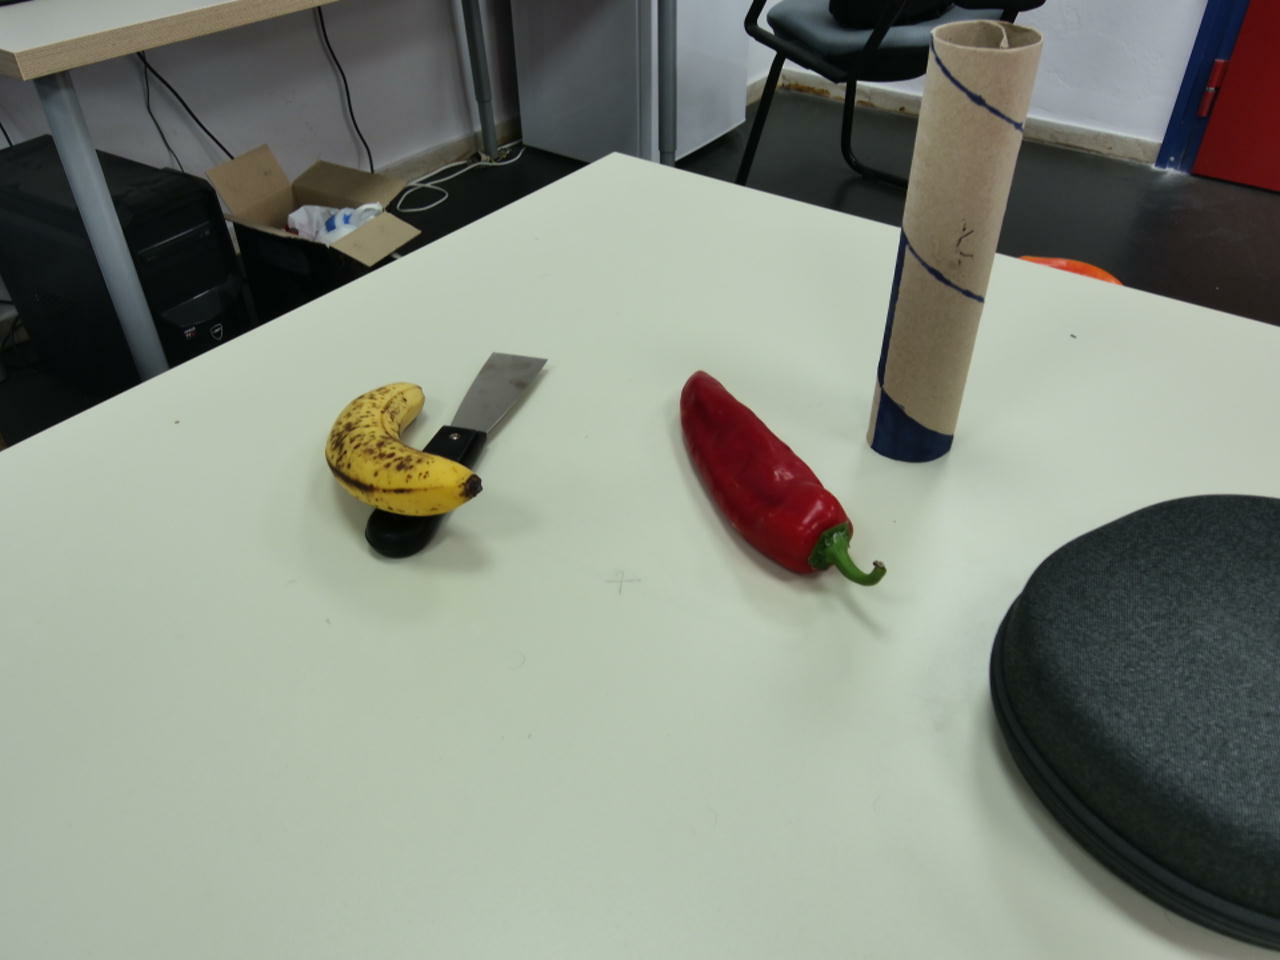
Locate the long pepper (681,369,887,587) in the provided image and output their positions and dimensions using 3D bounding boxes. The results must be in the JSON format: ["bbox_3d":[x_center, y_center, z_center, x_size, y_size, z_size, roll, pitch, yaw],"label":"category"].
[{"bbox_3d":[0.063,-0.004,0.531,0.050,0.043,0.211,-13,39,-16],"label":"long pepper"}]
